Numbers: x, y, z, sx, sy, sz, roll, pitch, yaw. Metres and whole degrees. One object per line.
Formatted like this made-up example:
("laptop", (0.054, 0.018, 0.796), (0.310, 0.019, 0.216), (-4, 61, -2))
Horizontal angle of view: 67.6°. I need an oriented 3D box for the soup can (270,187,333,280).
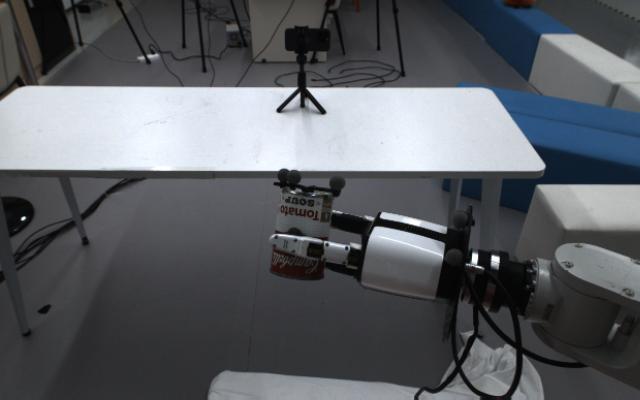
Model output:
("soup can", (-0.020, 0.039, 0.588), (0.067, 0.101, 0.067), (7, 4, 0))
